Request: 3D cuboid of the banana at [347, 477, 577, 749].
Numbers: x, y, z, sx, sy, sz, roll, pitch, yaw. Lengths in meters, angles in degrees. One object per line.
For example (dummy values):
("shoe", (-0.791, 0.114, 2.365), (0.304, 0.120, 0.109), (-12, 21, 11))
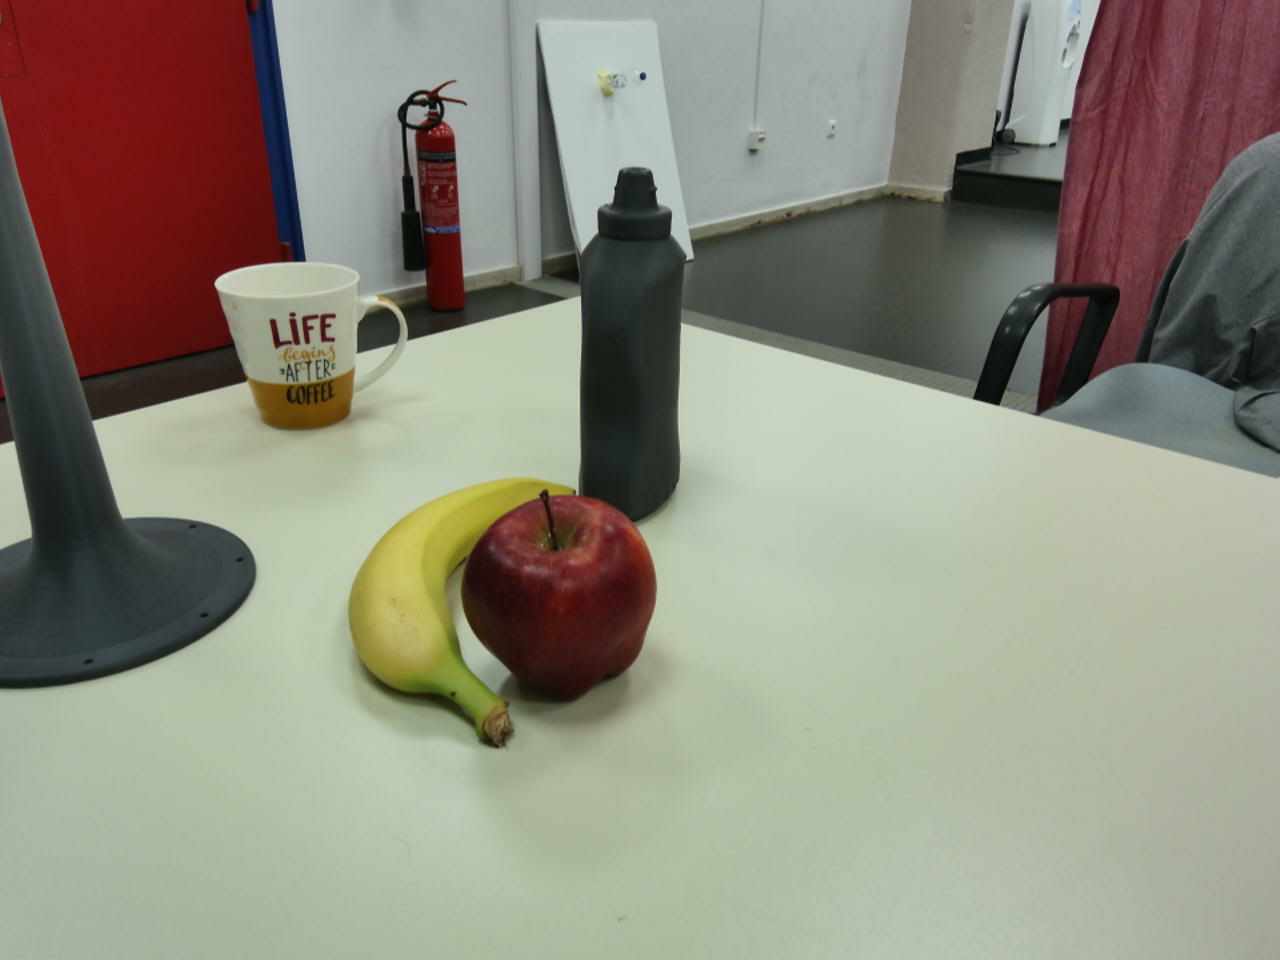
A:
("banana", (-0.090, 0.048, 0.485), (0.094, 0.041, 0.196), (3, 24, 4))
